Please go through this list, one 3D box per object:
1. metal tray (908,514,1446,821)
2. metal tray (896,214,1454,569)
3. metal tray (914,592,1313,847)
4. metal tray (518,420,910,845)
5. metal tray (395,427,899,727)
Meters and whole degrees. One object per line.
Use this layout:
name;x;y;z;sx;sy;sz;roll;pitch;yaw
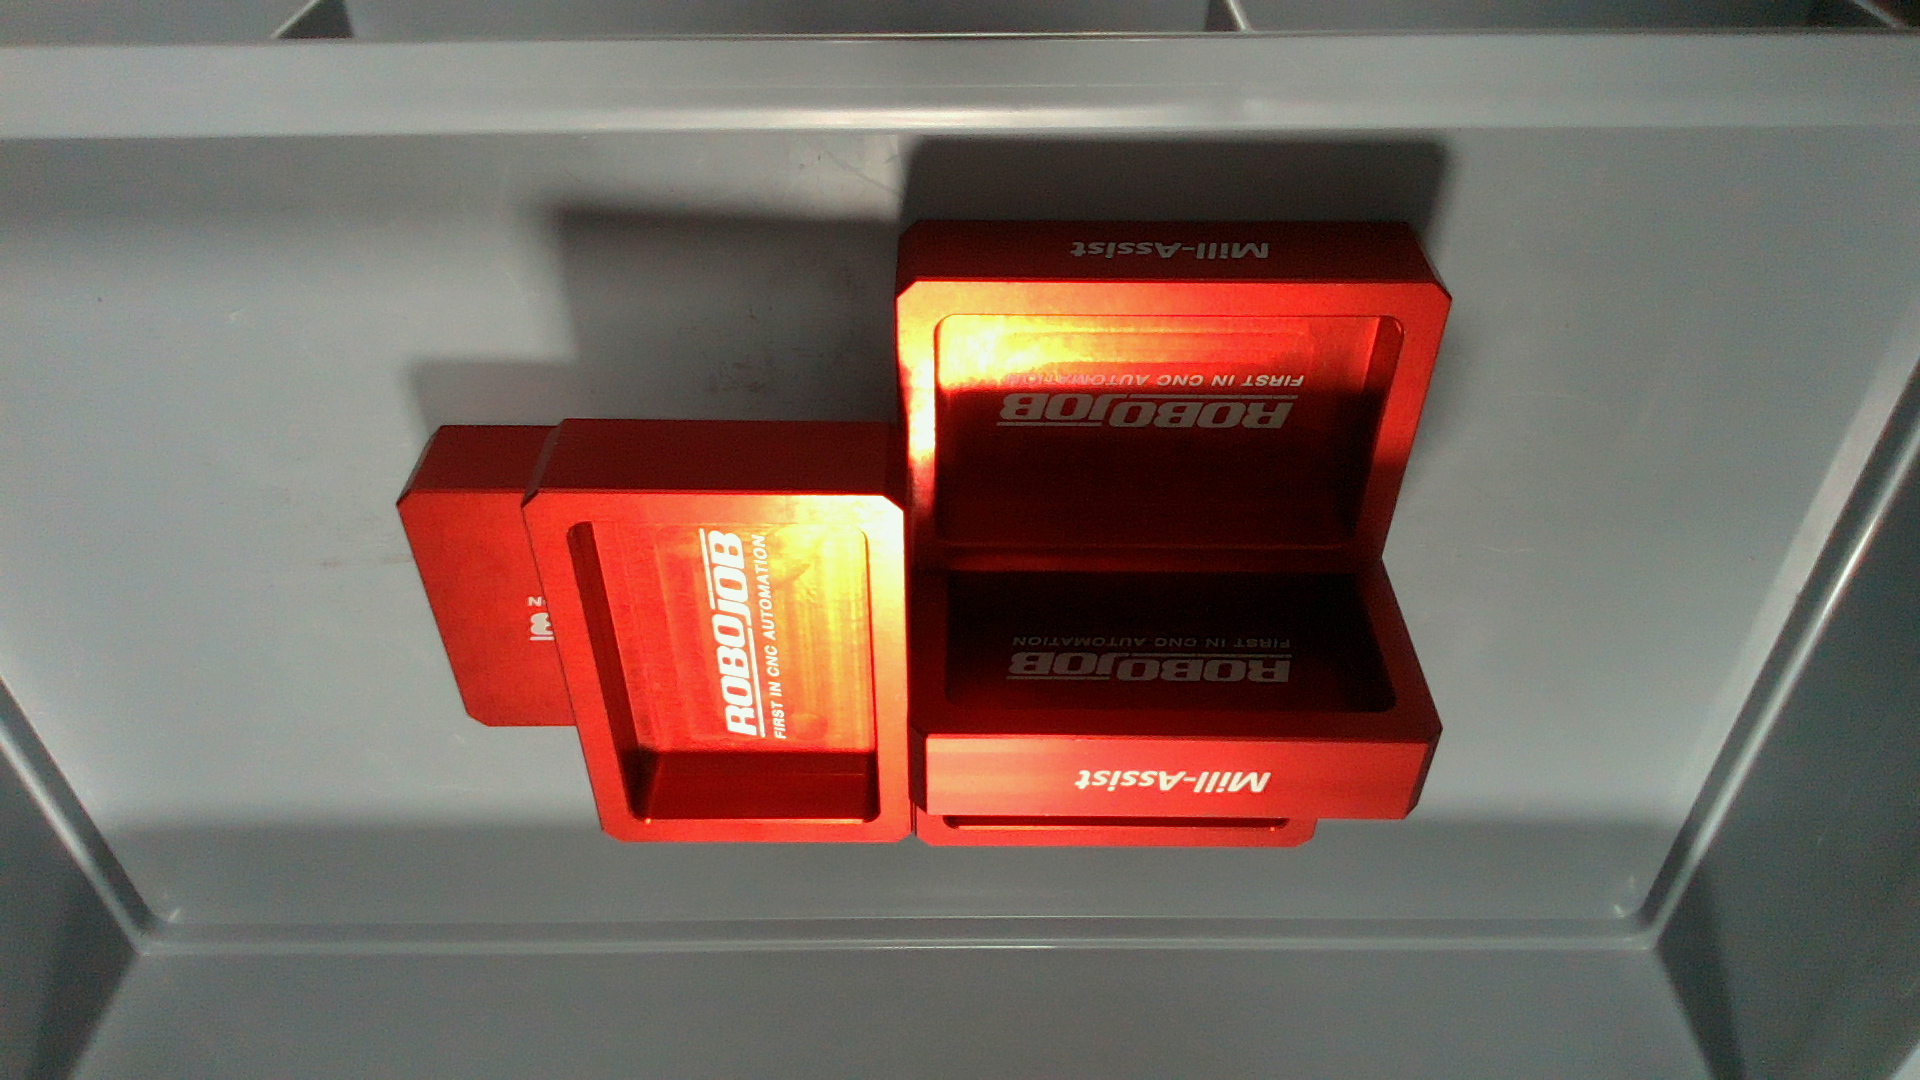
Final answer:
metal tray;0.052;0.031;0.371;0.130;0.090;0.030;1;130;-1
metal tray;0.050;-0.036;0.356;0.130;0.030;0.090;0;130;-1
metal tray;0.050;0.057;0.434;0.130;0.030;0.090;0;130;-1
metal tray;-0.059;0.030;0.370;0.090;0.030;0.130;1;130;-1
metal tray;-0.082;0.013;0.394;0.130;0.030;0.090;0;130;0
